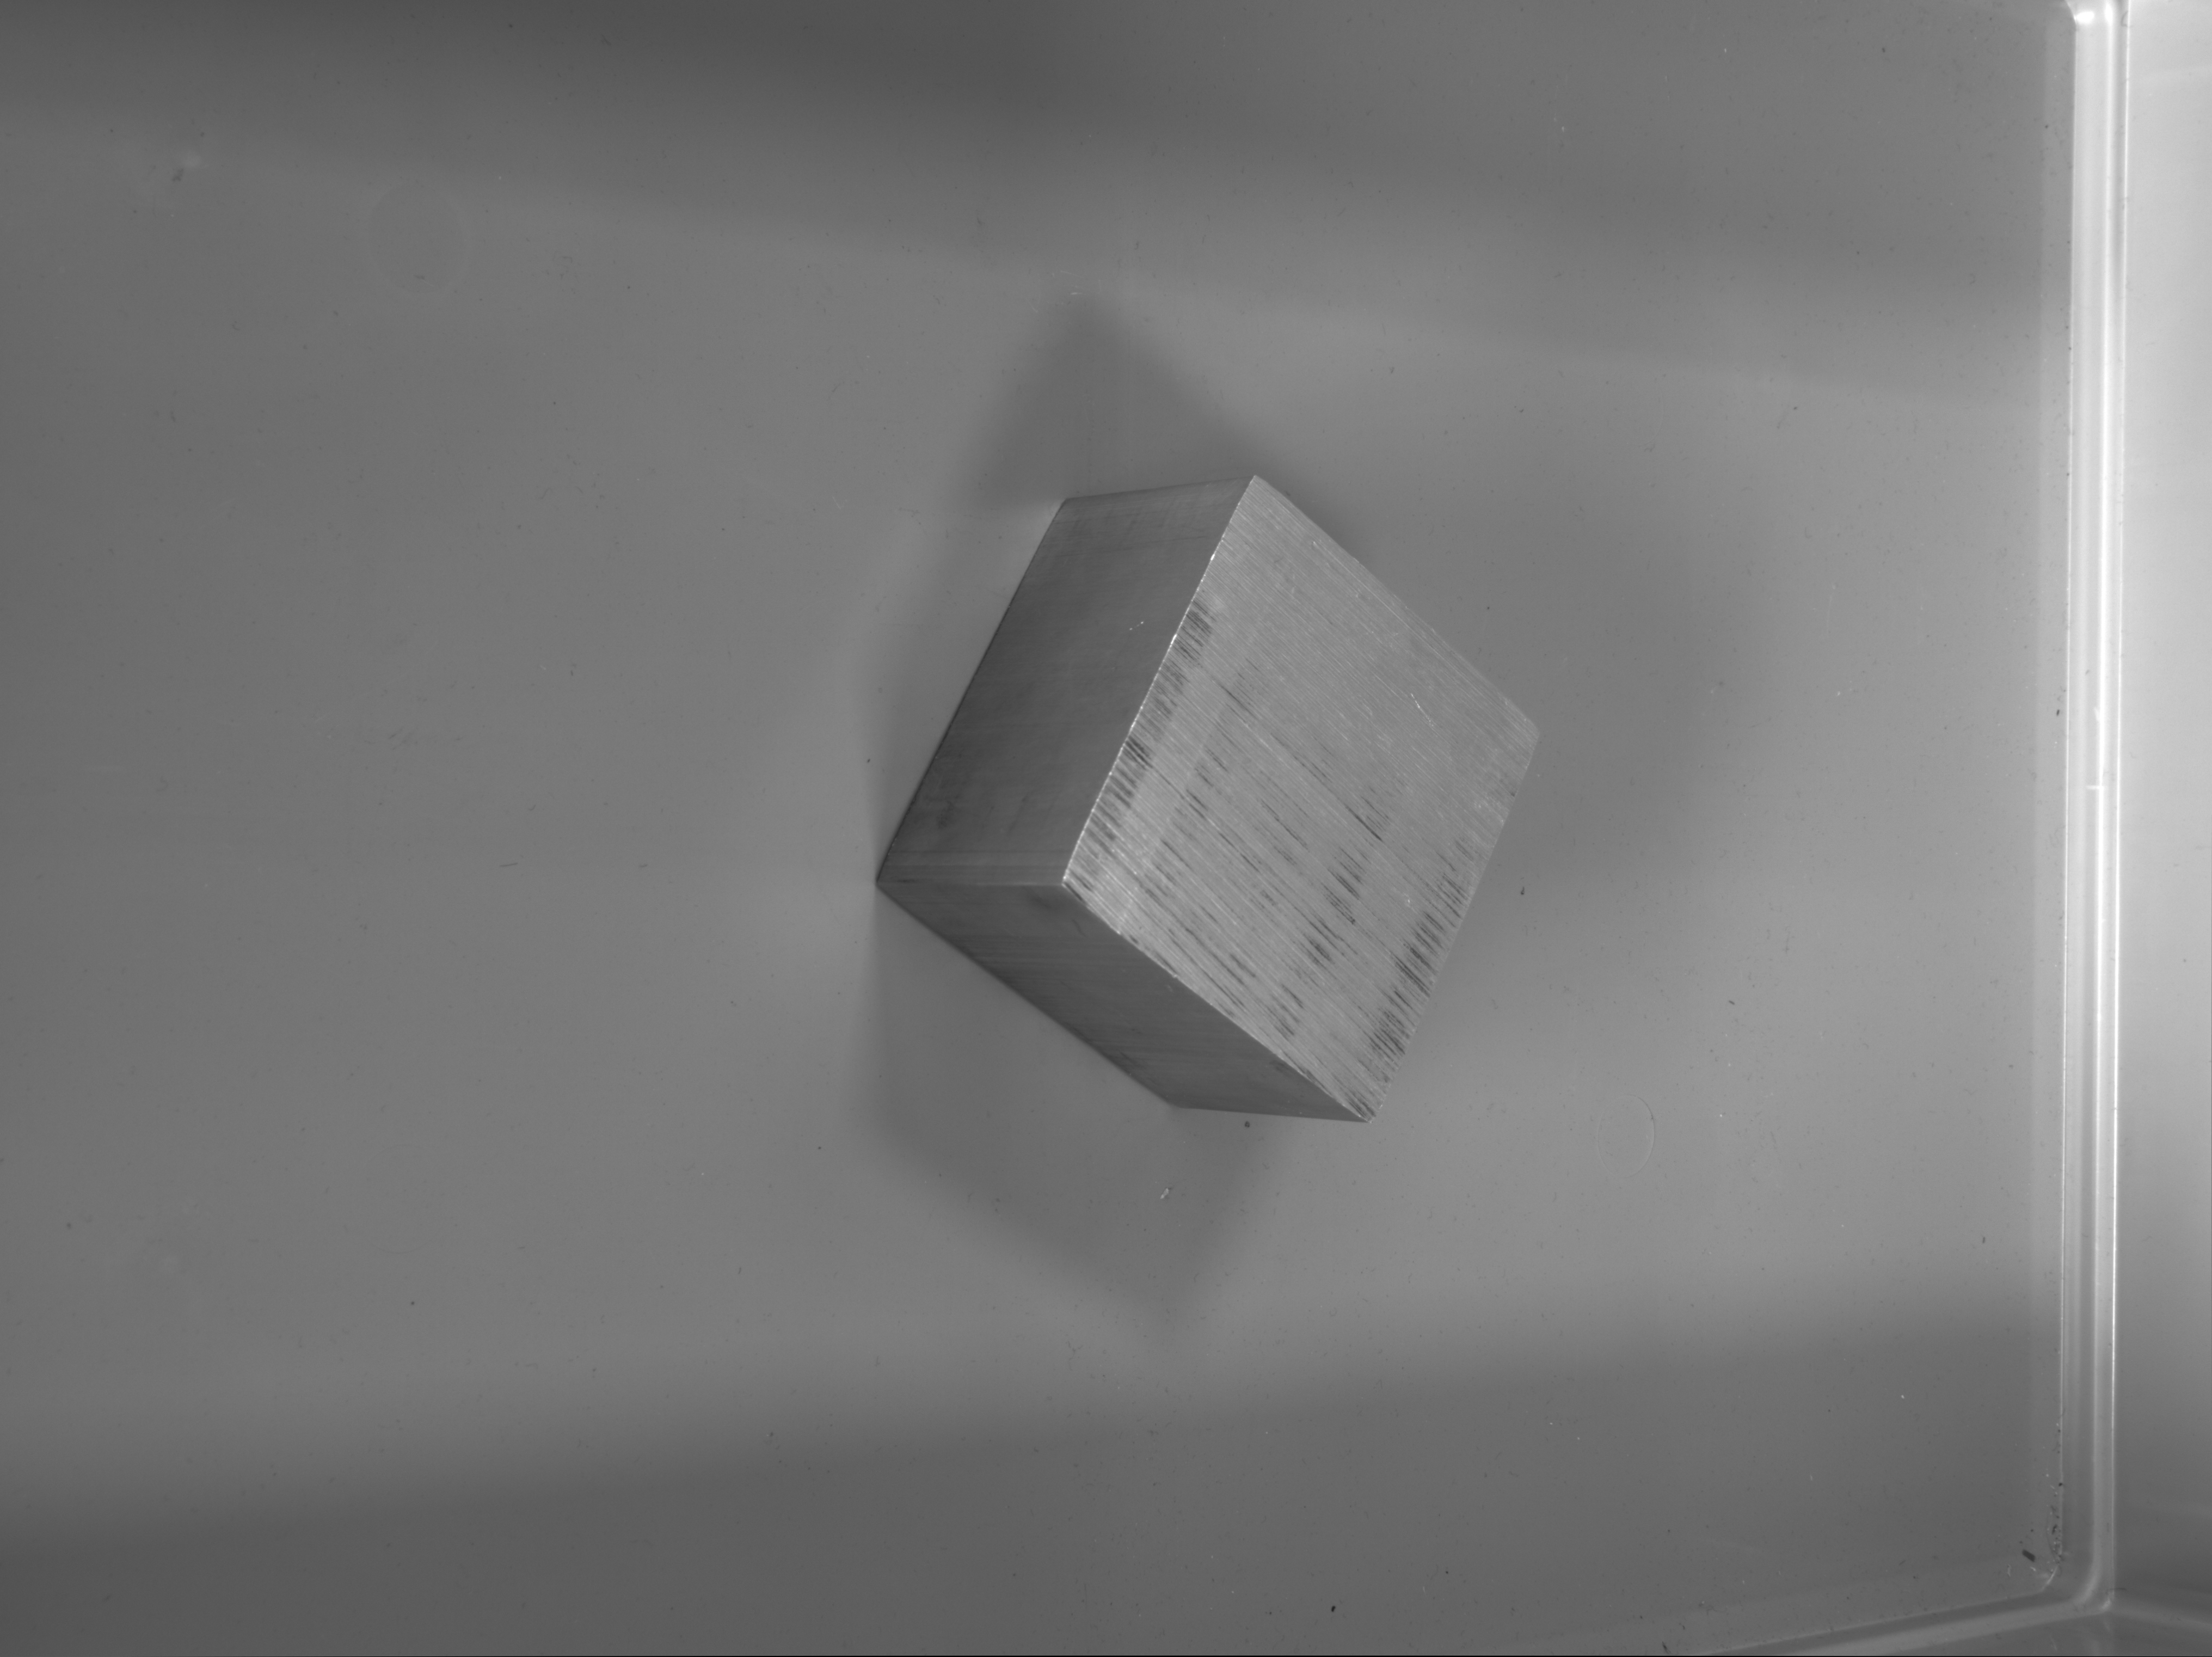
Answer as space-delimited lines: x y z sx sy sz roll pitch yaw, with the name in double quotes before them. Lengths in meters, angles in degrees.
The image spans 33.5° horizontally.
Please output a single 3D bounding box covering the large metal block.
"large metal block" 0.019 -0.004 0.632 0.080 0.050 0.080 39 66 -33
